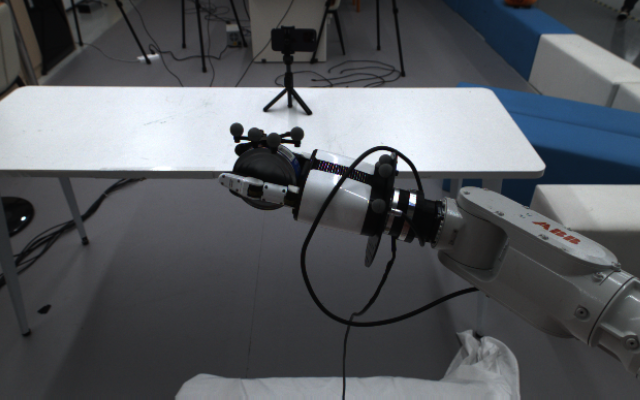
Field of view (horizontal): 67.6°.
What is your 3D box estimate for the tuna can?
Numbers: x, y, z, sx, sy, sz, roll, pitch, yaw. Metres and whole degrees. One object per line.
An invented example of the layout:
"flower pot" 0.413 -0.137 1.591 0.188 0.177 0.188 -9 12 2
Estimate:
"tuna can" -0.067 -0.032 0.634 0.085 0.085 0.034 9 23 9
